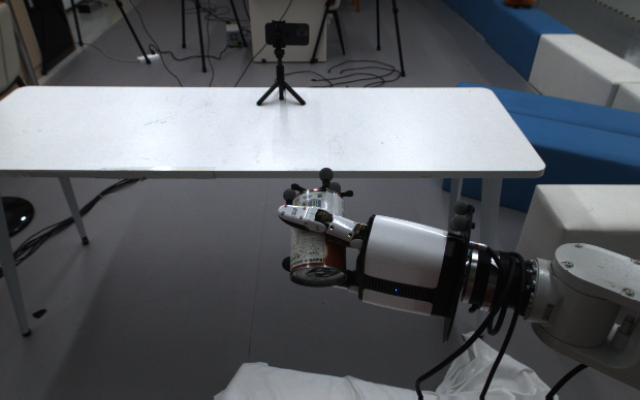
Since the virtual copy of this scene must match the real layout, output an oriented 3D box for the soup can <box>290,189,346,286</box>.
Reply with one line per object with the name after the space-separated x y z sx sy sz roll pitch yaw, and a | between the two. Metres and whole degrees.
-0.001 0.044 0.584 0.067 0.067 0.101 1 61 -2 | soup can
